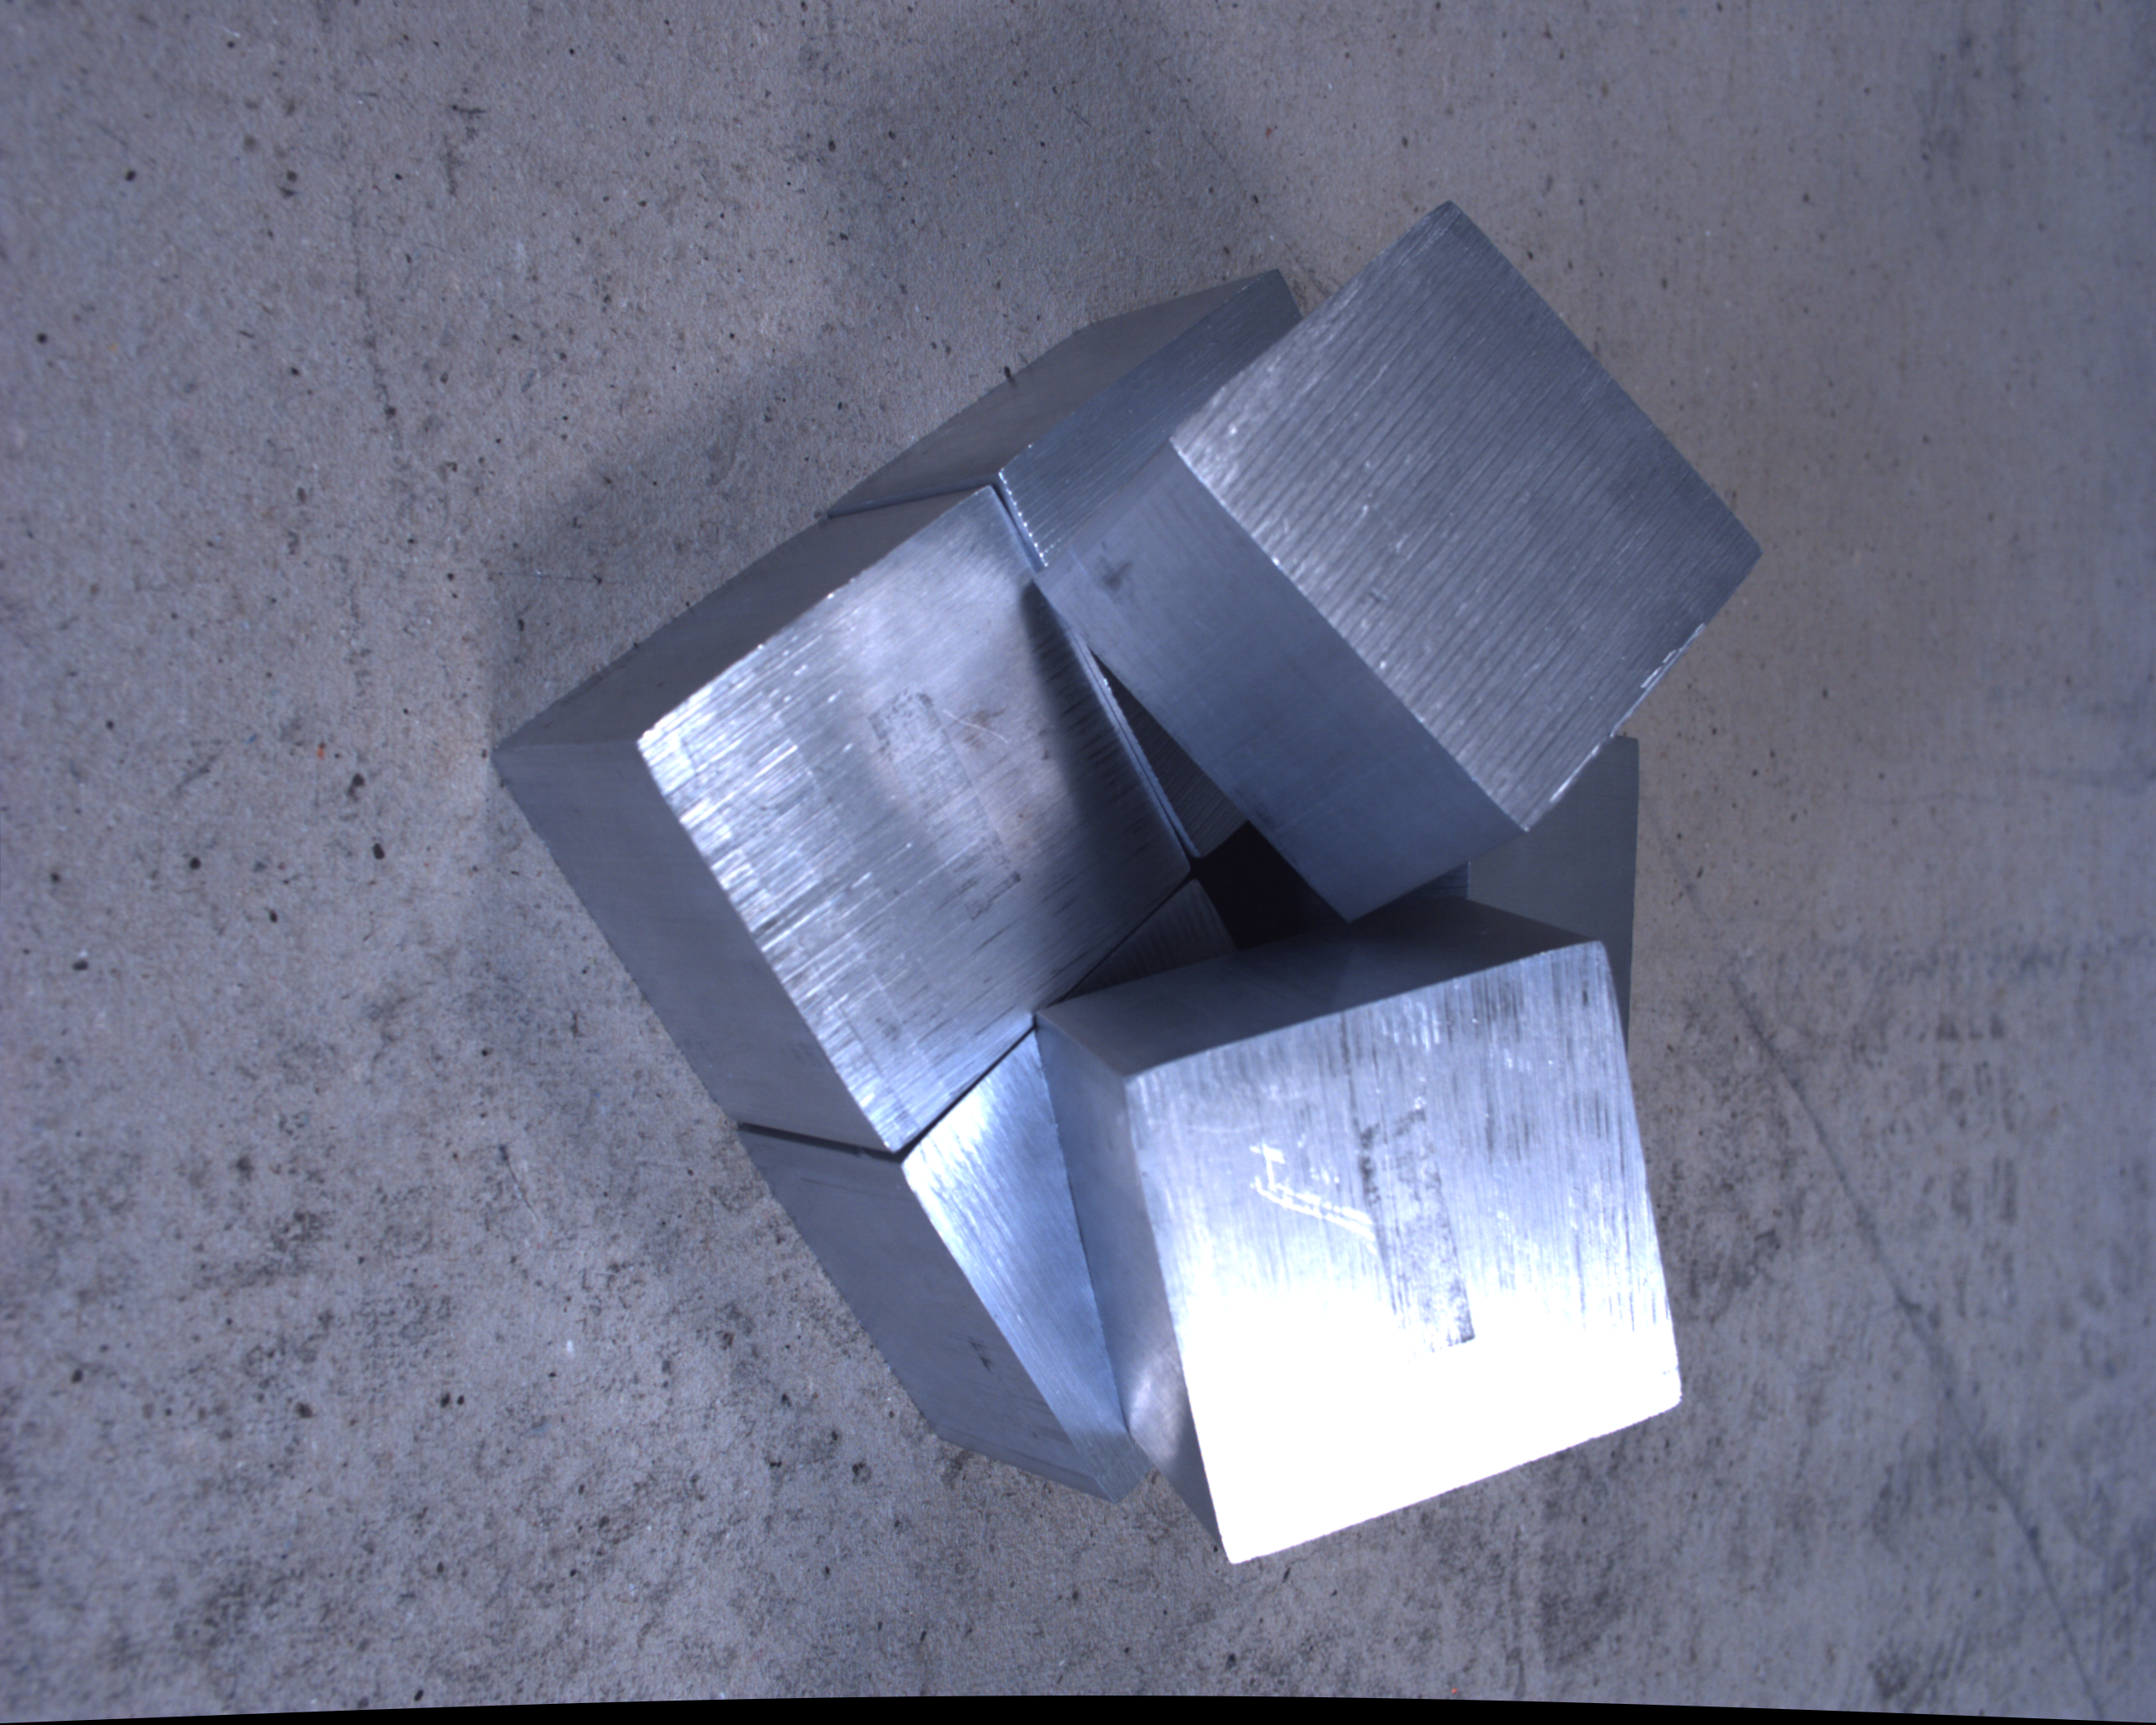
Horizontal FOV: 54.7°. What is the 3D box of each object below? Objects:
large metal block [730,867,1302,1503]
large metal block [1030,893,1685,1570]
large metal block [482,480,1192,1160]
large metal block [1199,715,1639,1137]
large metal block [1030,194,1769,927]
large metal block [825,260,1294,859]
[{"bbox_3d":[-0.003,0.056,0.389,0.080,0.050,0.080,-43,116,-32],"label":"large metal block"},{"bbox_3d":[0.045,0.056,0.343,0.081,0.050,0.080,-15,101,-14],"label":"large metal block"},{"bbox_3d":[-0.038,-0.008,0.359,0.080,0.050,0.080,-43,117,-32],"label":"large metal block"},{"bbox_3d":[0.064,0.013,0.424,0.050,0.080,0.080,5,87,-40],"label":"large metal block"},{"bbox_3d":[0.054,-0.050,0.349,0.080,0.050,0.080,47,59,-4],"label":"large metal block"},{"bbox_3d":[0.013,-0.056,0.398,0.080,0.050,0.080,-44,116,-32],"label":"large metal block"}]
